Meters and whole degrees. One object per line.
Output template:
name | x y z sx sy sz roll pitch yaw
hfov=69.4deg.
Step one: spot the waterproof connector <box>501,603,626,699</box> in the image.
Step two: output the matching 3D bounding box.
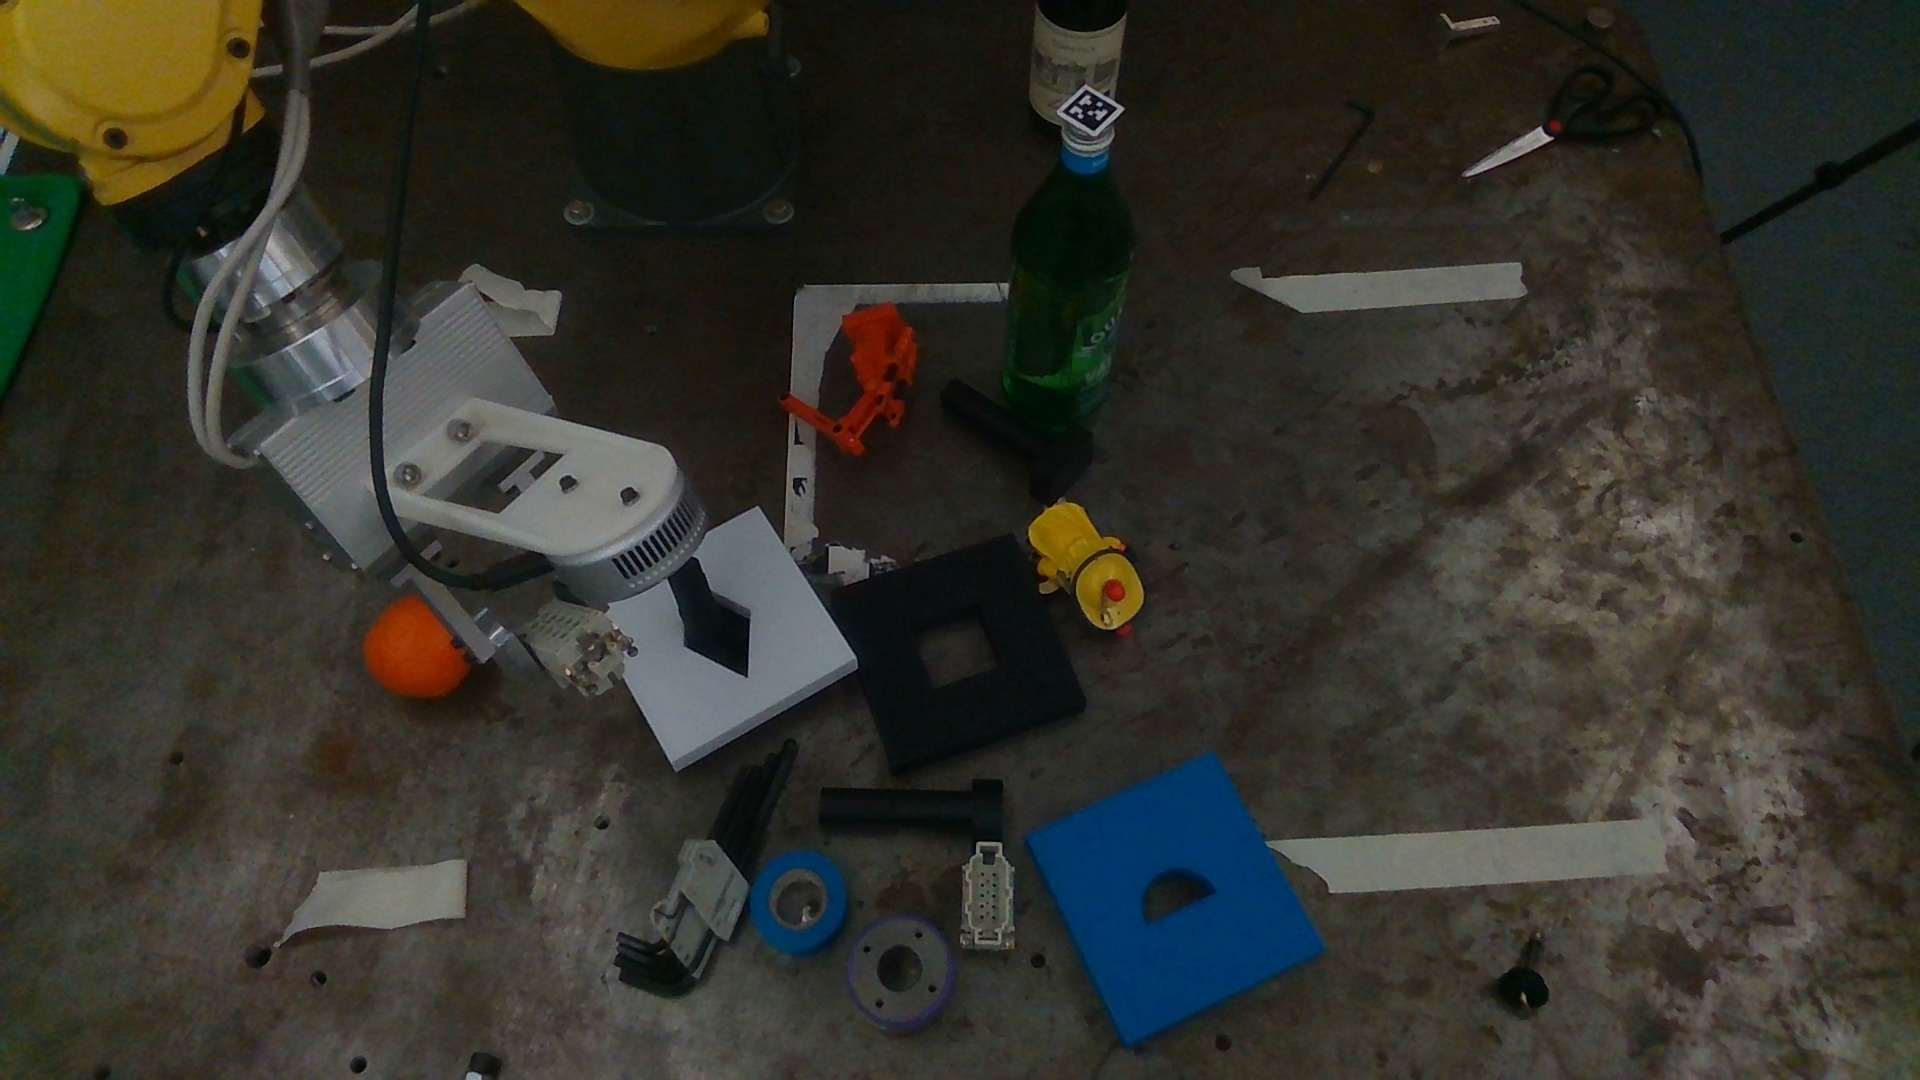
waterproof connector | -0.198 0.057 0.700 0.069 0.038 0.036 1 44 43
